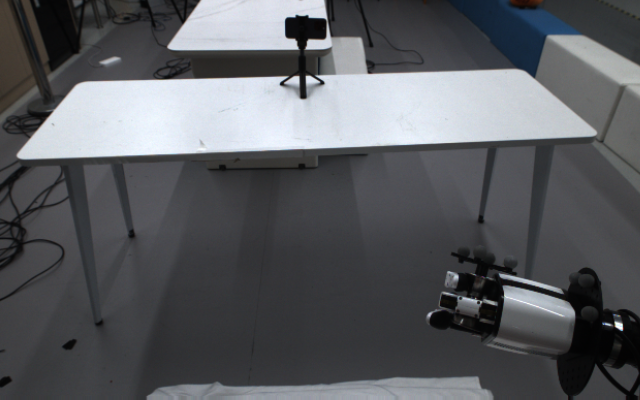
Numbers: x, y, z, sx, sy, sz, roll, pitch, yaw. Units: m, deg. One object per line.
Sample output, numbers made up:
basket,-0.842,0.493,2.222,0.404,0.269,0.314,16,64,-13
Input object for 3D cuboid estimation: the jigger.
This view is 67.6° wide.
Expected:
jigger,0.203,0.132,0.636,0.043,0.071,0.043,19,-6,2
